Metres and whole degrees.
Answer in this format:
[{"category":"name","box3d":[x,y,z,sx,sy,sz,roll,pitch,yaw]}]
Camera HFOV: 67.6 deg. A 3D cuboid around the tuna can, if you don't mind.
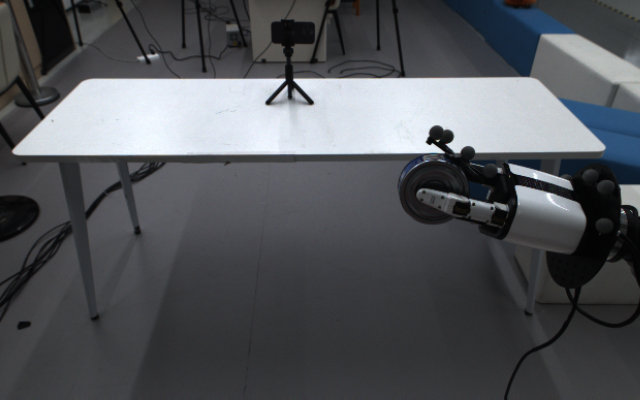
[{"category":"tuna can","box3d":[0.142,-0.016,0.603,0.085,0.085,0.034,7,19,6]}]
